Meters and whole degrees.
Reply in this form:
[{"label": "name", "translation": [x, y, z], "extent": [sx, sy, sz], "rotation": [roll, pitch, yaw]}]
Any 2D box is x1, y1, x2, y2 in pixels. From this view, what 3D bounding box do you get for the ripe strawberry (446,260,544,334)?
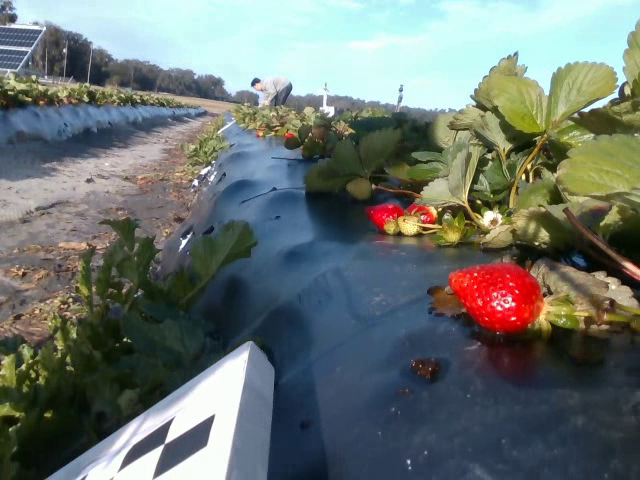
[{"label": "ripe strawberry", "translation": [0.071, 0.023, 0.281], "extent": [0.054, 0.037, 0.047], "rotation": [15, 28, 8]}]
